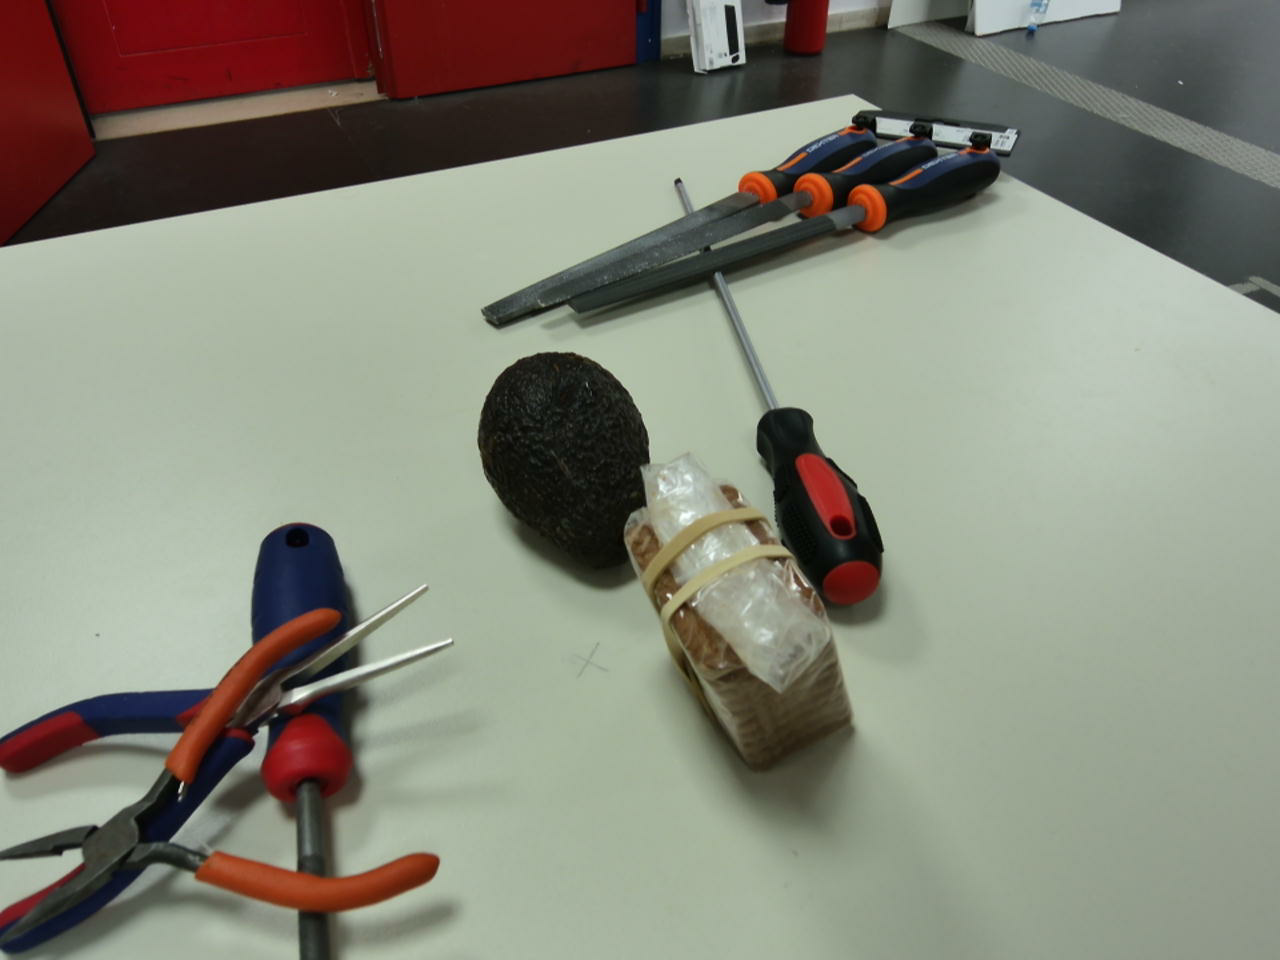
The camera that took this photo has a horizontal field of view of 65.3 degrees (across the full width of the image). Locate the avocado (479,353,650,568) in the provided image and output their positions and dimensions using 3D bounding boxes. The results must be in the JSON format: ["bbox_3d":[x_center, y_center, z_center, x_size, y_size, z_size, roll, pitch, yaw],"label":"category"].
[{"bbox_3d":[-0.031,-0.012,0.407,0.070,0.069,0.090,-2,38,-2],"label":"avocado"}]
